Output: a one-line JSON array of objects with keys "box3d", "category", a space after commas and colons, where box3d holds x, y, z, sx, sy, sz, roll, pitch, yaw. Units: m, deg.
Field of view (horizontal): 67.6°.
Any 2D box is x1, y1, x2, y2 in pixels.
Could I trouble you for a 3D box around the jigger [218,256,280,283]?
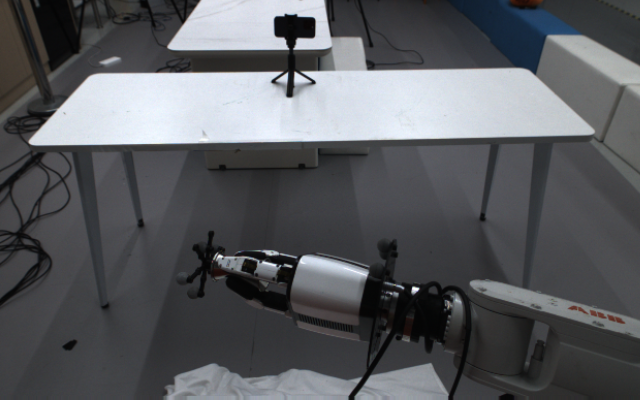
[{"box3d": [-0.095, 0.087, 0.623, 0.071, 0.043, 0.043, 8, 35, 15], "category": "jigger"}]
